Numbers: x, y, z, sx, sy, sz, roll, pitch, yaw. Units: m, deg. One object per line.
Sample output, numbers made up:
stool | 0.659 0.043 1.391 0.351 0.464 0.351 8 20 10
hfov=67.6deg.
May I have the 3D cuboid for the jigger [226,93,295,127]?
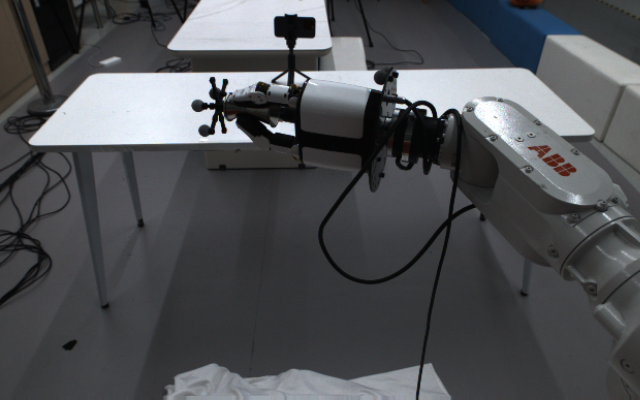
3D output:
jigger | -0.088 -0.131 0.668 0.071 0.043 0.043 8 35 14
